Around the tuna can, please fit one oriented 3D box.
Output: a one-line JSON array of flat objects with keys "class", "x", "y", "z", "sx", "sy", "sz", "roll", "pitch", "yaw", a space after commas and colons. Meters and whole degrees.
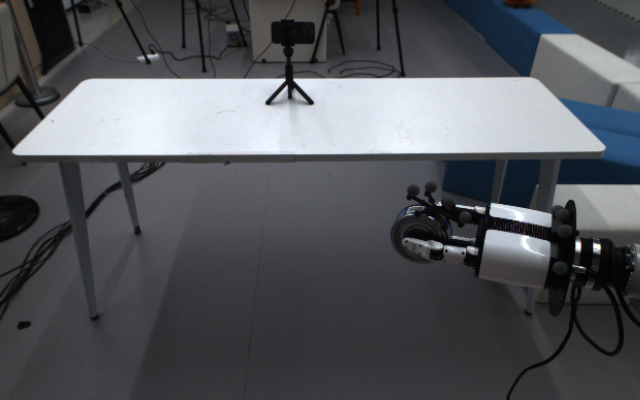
[{"class": "tuna can", "x": 0.150, "y": 0.048, "z": 0.709, "sx": 0.085, "sy": 0.085, "sz": 0.034, "roll": 15, "pitch": 31, "yaw": 18}]
